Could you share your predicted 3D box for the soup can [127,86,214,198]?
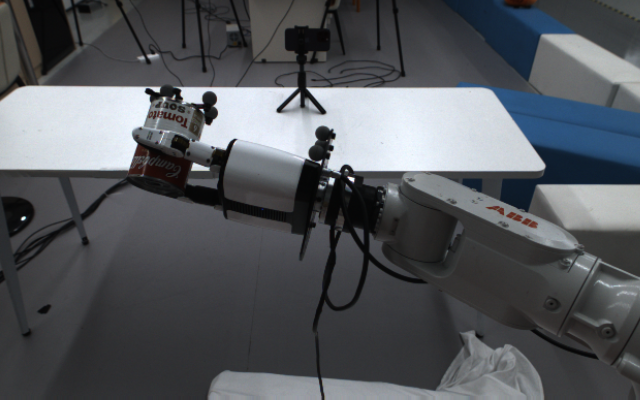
[{"bbox_3d":[-0.182,-0.061,0.578,0.067,0.067,0.101,8,74,9],"label":"soup can"}]
